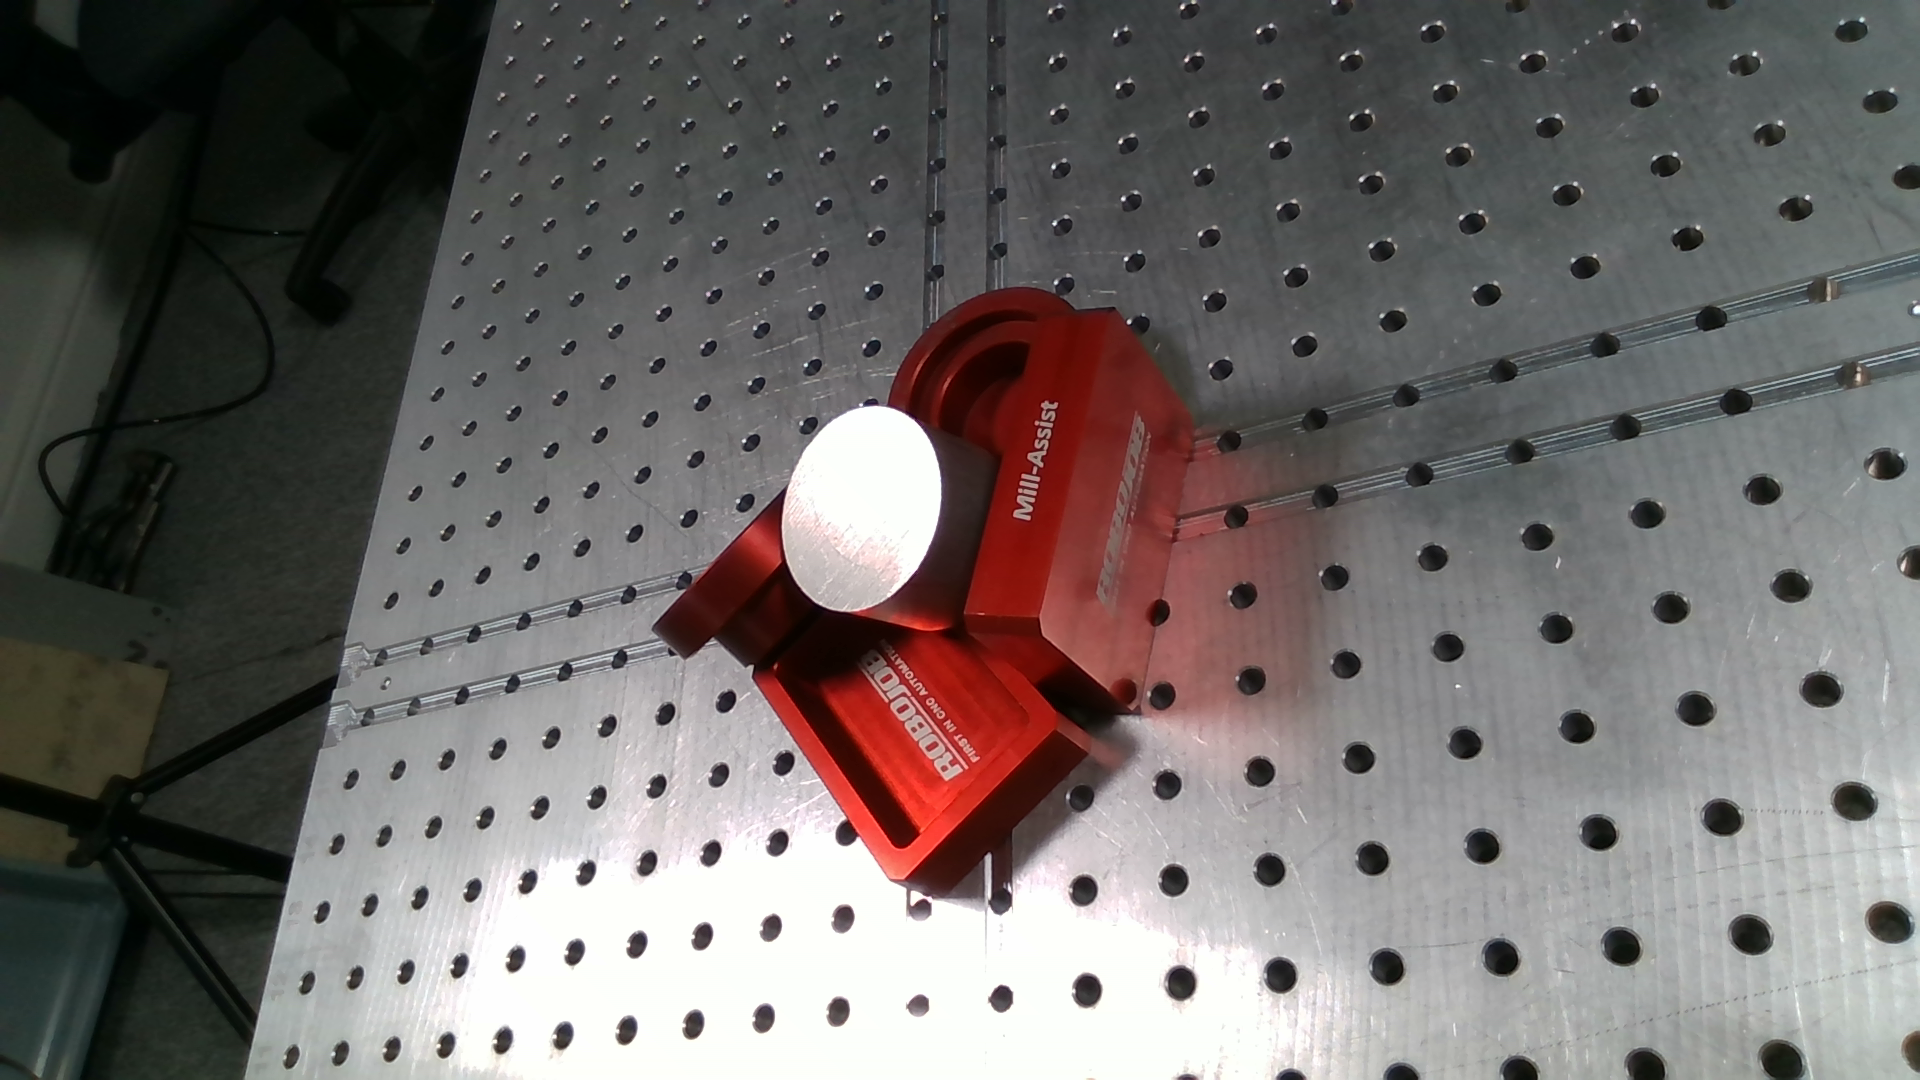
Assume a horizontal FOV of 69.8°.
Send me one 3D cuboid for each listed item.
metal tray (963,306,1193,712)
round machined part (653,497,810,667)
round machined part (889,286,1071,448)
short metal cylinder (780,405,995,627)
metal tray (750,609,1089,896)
[{"bbox_3d":[0.049,-0.011,0.522,0.030,0.090,0.130,1,66,32],"label":"metal tray"},{"bbox_3d":[-0.085,0.017,0.598,0.098,0.042,0.098,-45,7,7],"label":"round machined part"},{"bbox_3d":[0.021,-0.057,0.596,0.098,0.042,0.098,-14,59,25],"label":"round machined part"},{"bbox_3d":[-0.025,-0.008,0.543,0.080,0.050,0.080,-10,74,35],"label":"short metal cylinder"},{"bbox_3d":[-0.020,0.067,0.561,0.090,0.030,0.130,-45,51,3],"label":"metal tray"}]
